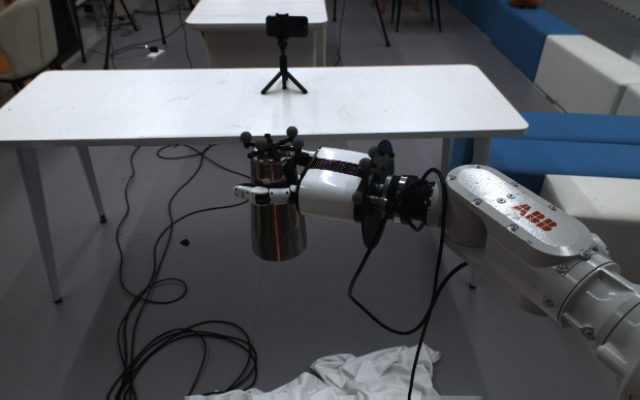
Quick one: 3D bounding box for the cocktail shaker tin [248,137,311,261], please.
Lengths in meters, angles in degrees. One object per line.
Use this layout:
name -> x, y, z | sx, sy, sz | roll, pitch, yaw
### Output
cocktail shaker tin -> -0.065, -0.002, 0.759 | 0.093, 0.170, 0.093 | -1, 32, 1
